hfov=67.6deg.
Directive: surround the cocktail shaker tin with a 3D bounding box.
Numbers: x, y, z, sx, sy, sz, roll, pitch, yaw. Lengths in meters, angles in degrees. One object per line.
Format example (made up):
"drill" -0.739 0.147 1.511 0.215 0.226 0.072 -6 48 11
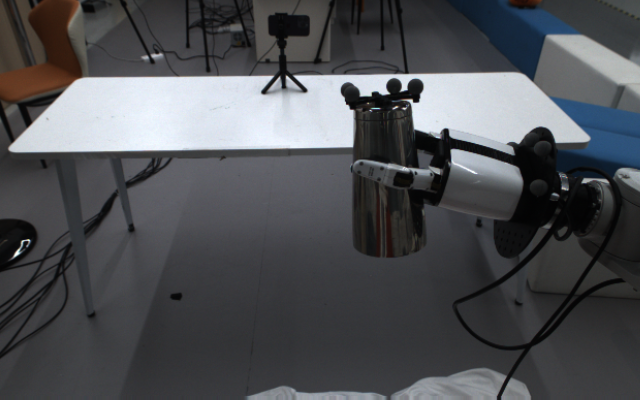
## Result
"cocktail shaker tin" 0.080 -0.028 0.577 0.093 0.170 0.093 -6 19 2
